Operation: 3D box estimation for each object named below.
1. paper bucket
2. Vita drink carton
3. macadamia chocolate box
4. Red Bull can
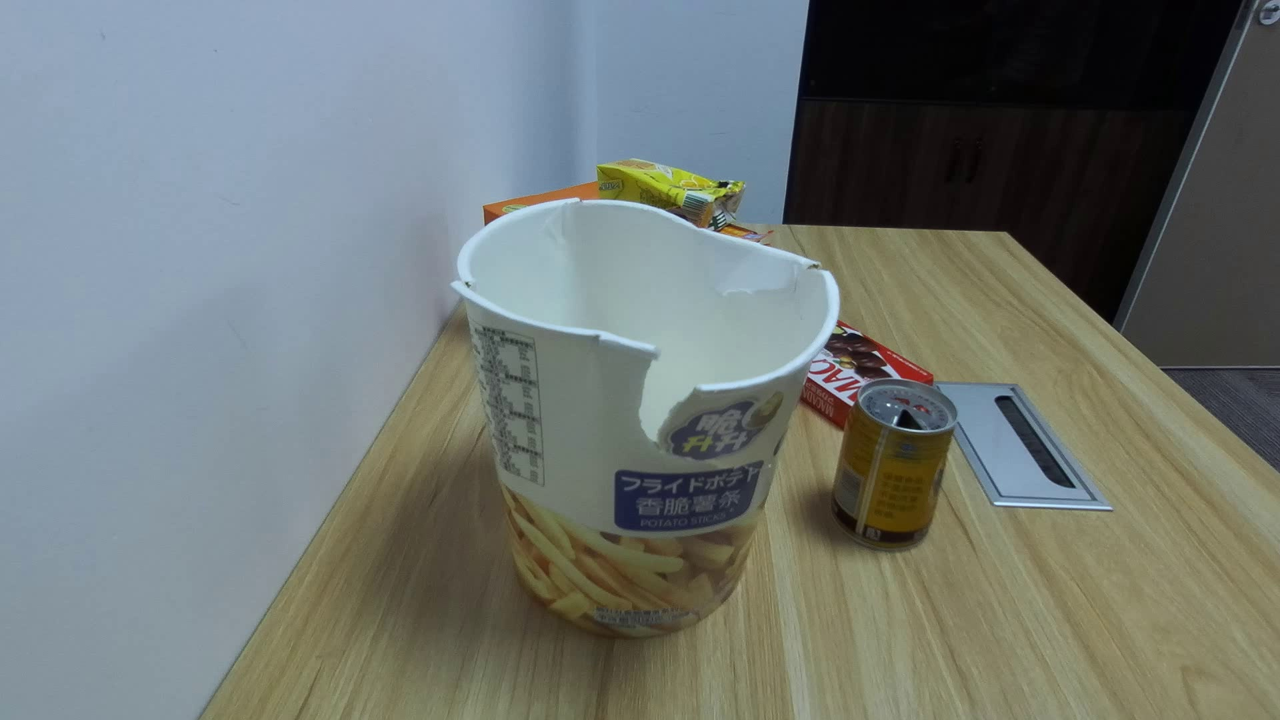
[{"bbox_3d":[-0.003,0.033,0.390,0.202,0.197,0.146,21,37,31],"label":"paper bucket"},{"bbox_3d":[0.025,-0.133,0.583,0.108,0.042,0.087,18,25,21],"label":"Vita drink carton"},{"bbox_3d":[0.158,-0.002,0.626,0.096,0.027,0.177,-18,35,-25],"label":"macadamia chocolate box"},{"bbox_3d":[0.160,0.065,0.448,0.068,0.093,0.068,0,31,0],"label":"Red Bull can"}]
